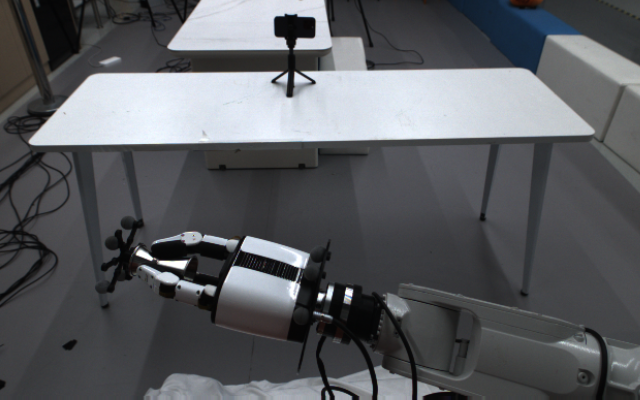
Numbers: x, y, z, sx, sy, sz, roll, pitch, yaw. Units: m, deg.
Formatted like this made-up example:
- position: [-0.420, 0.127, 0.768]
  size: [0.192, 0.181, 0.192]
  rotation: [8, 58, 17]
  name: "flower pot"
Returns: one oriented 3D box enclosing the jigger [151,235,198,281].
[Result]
- position: [-0.180, 0.079, 0.578]
  size: [0.071, 0.043, 0.043]
  rotation: [14, 36, 5]
  name: "jigger"
